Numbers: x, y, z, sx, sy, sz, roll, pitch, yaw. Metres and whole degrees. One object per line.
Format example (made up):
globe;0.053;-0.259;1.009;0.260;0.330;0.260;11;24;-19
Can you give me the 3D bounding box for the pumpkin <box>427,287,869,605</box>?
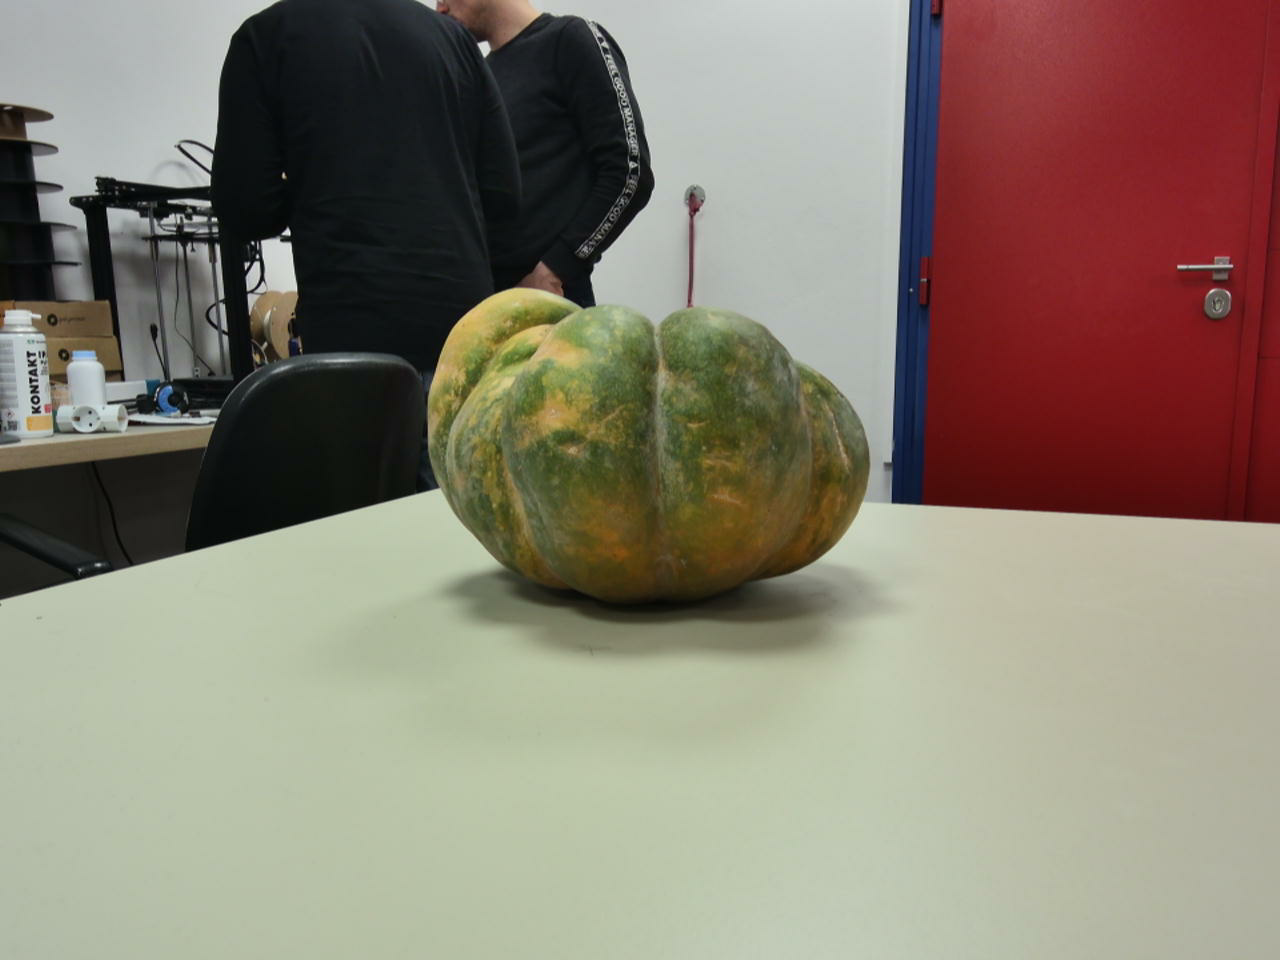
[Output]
pumpkin;0.003;-0.023;0.583;0.237;0.173;0.270;-3;7;-29
